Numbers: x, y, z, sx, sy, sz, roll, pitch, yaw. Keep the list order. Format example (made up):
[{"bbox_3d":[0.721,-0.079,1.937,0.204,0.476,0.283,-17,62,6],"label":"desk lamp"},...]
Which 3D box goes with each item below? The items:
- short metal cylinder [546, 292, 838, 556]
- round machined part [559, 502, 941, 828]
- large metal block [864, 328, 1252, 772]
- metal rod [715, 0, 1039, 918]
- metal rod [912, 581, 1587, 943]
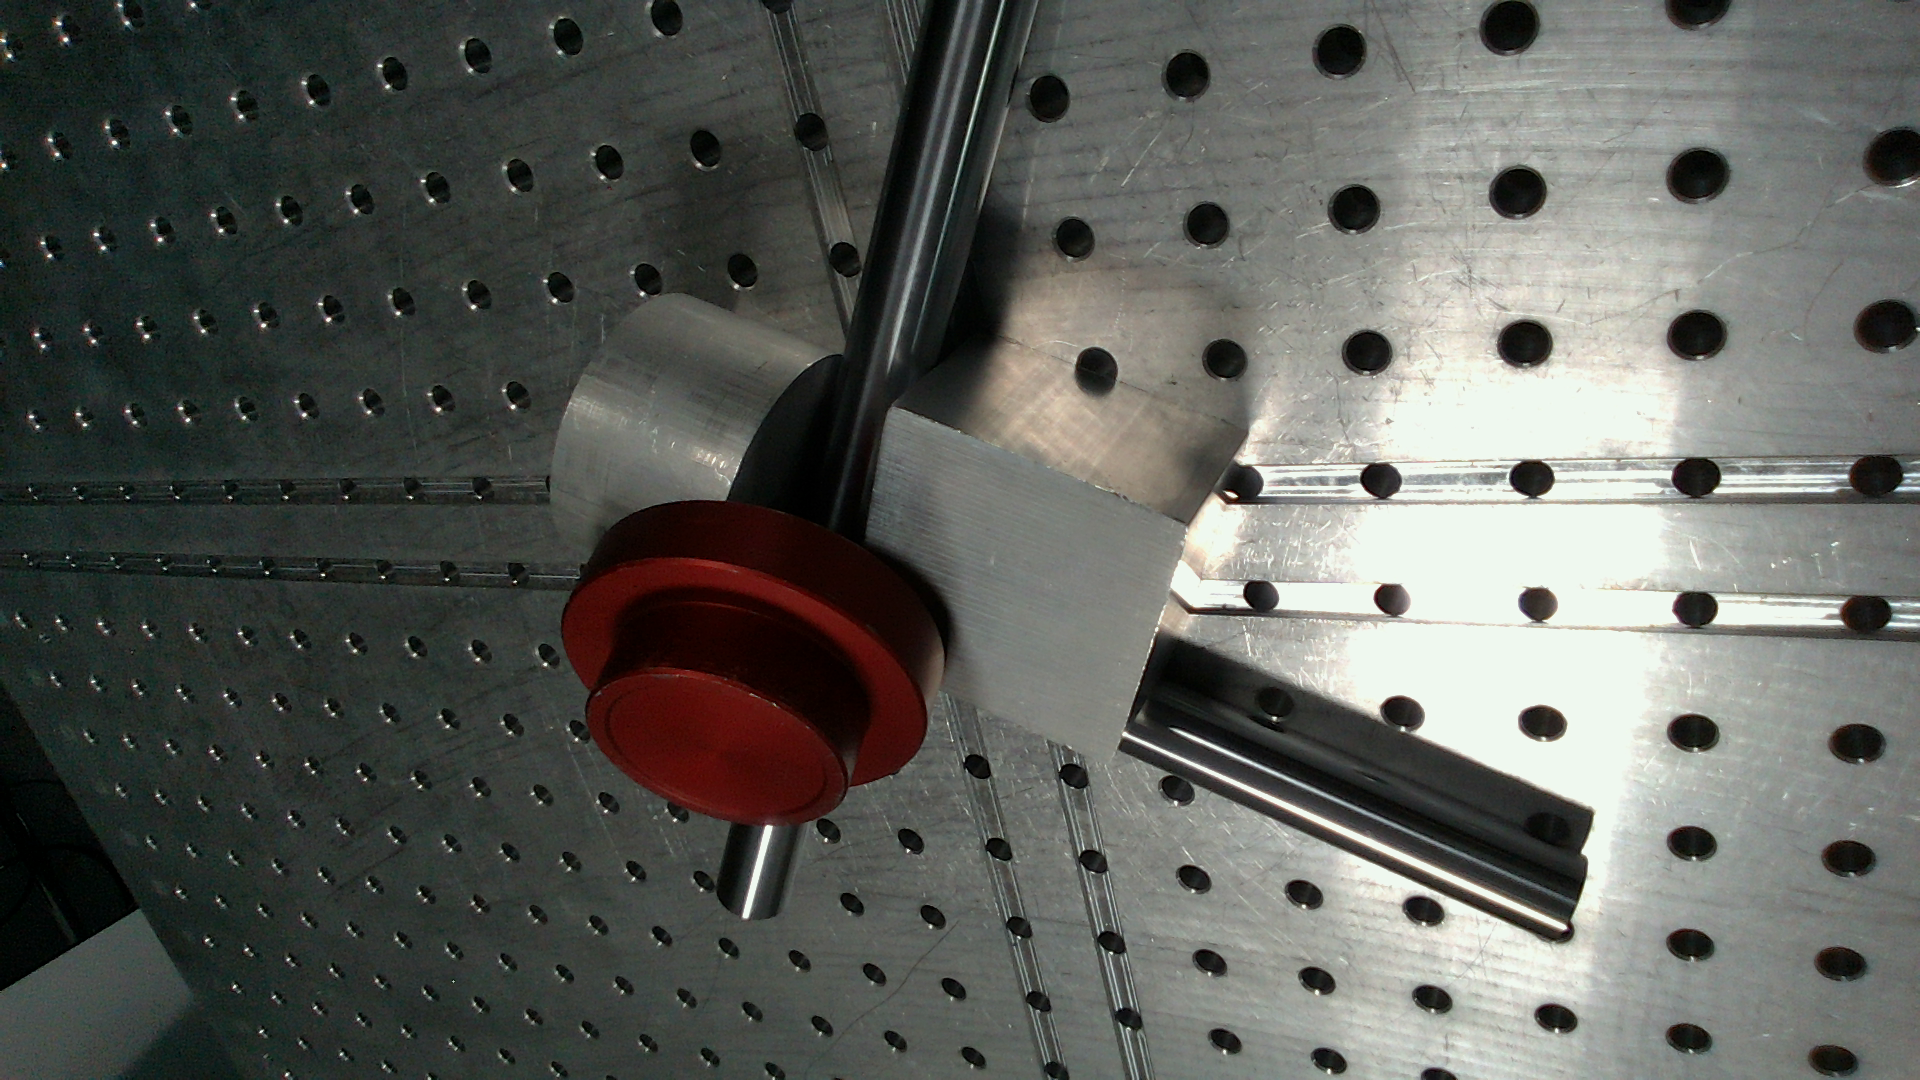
[{"bbox_3d":[-0.069,-0.022,0.383,0.050,0.080,0.080,22,127,15],"label":"short metal cylinder"},{"bbox_3d":[-0.056,0.039,0.354,0.098,0.042,0.098,9,140,8],"label":"round machined part"},{"bbox_3d":[0.021,0.002,0.365,0.080,0.050,0.080,23,127,14],"label":"large metal block"},{"bbox_3d":[-0.030,-0.010,0.381,0.025,0.025,0.300,25,120,13],"label":"metal rod"},{"bbox_3d":[0.028,0.041,0.405,0.299,0.025,0.025,22,127,15],"label":"metal rod"}]
